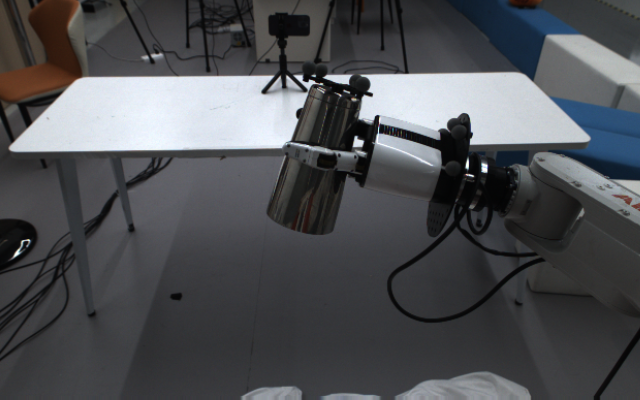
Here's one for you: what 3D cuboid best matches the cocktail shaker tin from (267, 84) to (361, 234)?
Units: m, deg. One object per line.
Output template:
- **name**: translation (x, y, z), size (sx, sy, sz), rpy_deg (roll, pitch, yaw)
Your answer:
- **cocktail shaker tin**: translation (-0.003, -0.053, 0.610), size (0.093, 0.170, 0.093), rpy_deg (15, 17, -5)
